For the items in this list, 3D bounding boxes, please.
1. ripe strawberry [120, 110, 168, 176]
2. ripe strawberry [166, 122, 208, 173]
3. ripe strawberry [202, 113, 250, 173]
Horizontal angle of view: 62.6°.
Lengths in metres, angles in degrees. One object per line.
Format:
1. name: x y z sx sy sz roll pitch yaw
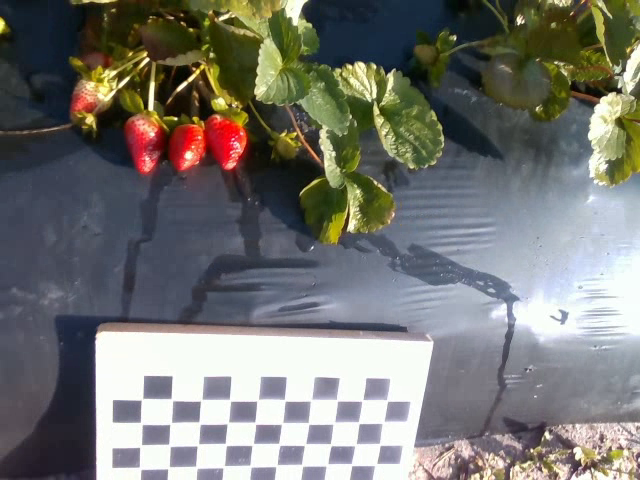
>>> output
1. ripe strawberry: -0.126 -0.068 0.381 0.031 0.046 0.023 2 -1 -8
2. ripe strawberry: -0.097 -0.066 0.379 0.030 0.037 0.039 13 38 -11
3. ripe strawberry: -0.069 -0.066 0.387 0.035 0.041 0.034 -1 -36 -7
